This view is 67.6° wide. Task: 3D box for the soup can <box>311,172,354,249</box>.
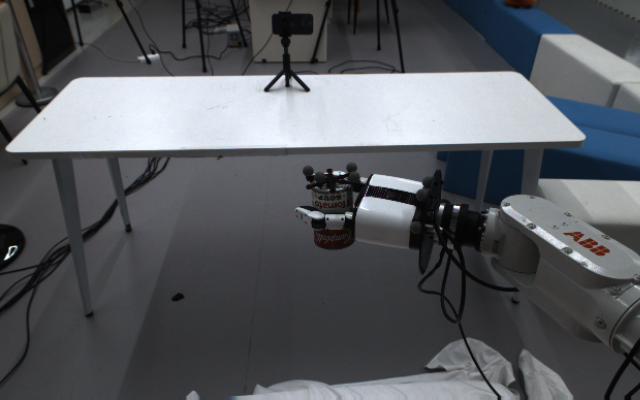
[{"bbox_3d":[0.021,0.019,0.770,0.067,0.101,0.067,-3,26,2],"label":"soup can"}]
